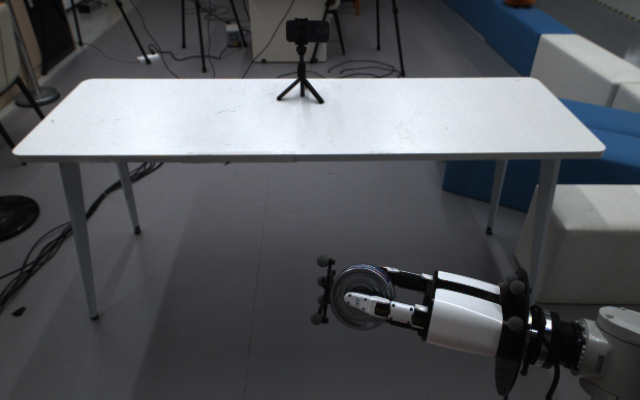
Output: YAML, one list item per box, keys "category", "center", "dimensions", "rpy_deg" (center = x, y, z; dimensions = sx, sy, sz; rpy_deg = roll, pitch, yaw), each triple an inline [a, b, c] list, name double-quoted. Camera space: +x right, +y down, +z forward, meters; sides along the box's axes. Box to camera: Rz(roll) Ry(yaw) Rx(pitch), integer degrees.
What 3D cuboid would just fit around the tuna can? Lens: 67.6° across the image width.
- category: "tuna can"
  center: [0.059, 0.132, 0.643]
  dimensions: [0.085, 0.085, 0.034]
  rpy_deg: [10, 2, 12]
